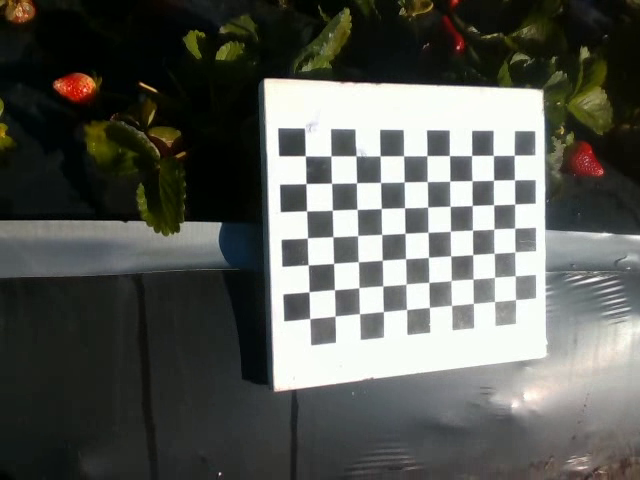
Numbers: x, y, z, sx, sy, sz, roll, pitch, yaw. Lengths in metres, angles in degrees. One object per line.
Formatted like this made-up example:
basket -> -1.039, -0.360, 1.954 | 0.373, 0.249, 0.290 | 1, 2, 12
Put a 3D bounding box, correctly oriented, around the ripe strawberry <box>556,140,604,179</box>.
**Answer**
ripe strawberry -> 0.305, -0.090, 0.672 | 0.054, 0.048, 0.029 | 43, -10, -14
